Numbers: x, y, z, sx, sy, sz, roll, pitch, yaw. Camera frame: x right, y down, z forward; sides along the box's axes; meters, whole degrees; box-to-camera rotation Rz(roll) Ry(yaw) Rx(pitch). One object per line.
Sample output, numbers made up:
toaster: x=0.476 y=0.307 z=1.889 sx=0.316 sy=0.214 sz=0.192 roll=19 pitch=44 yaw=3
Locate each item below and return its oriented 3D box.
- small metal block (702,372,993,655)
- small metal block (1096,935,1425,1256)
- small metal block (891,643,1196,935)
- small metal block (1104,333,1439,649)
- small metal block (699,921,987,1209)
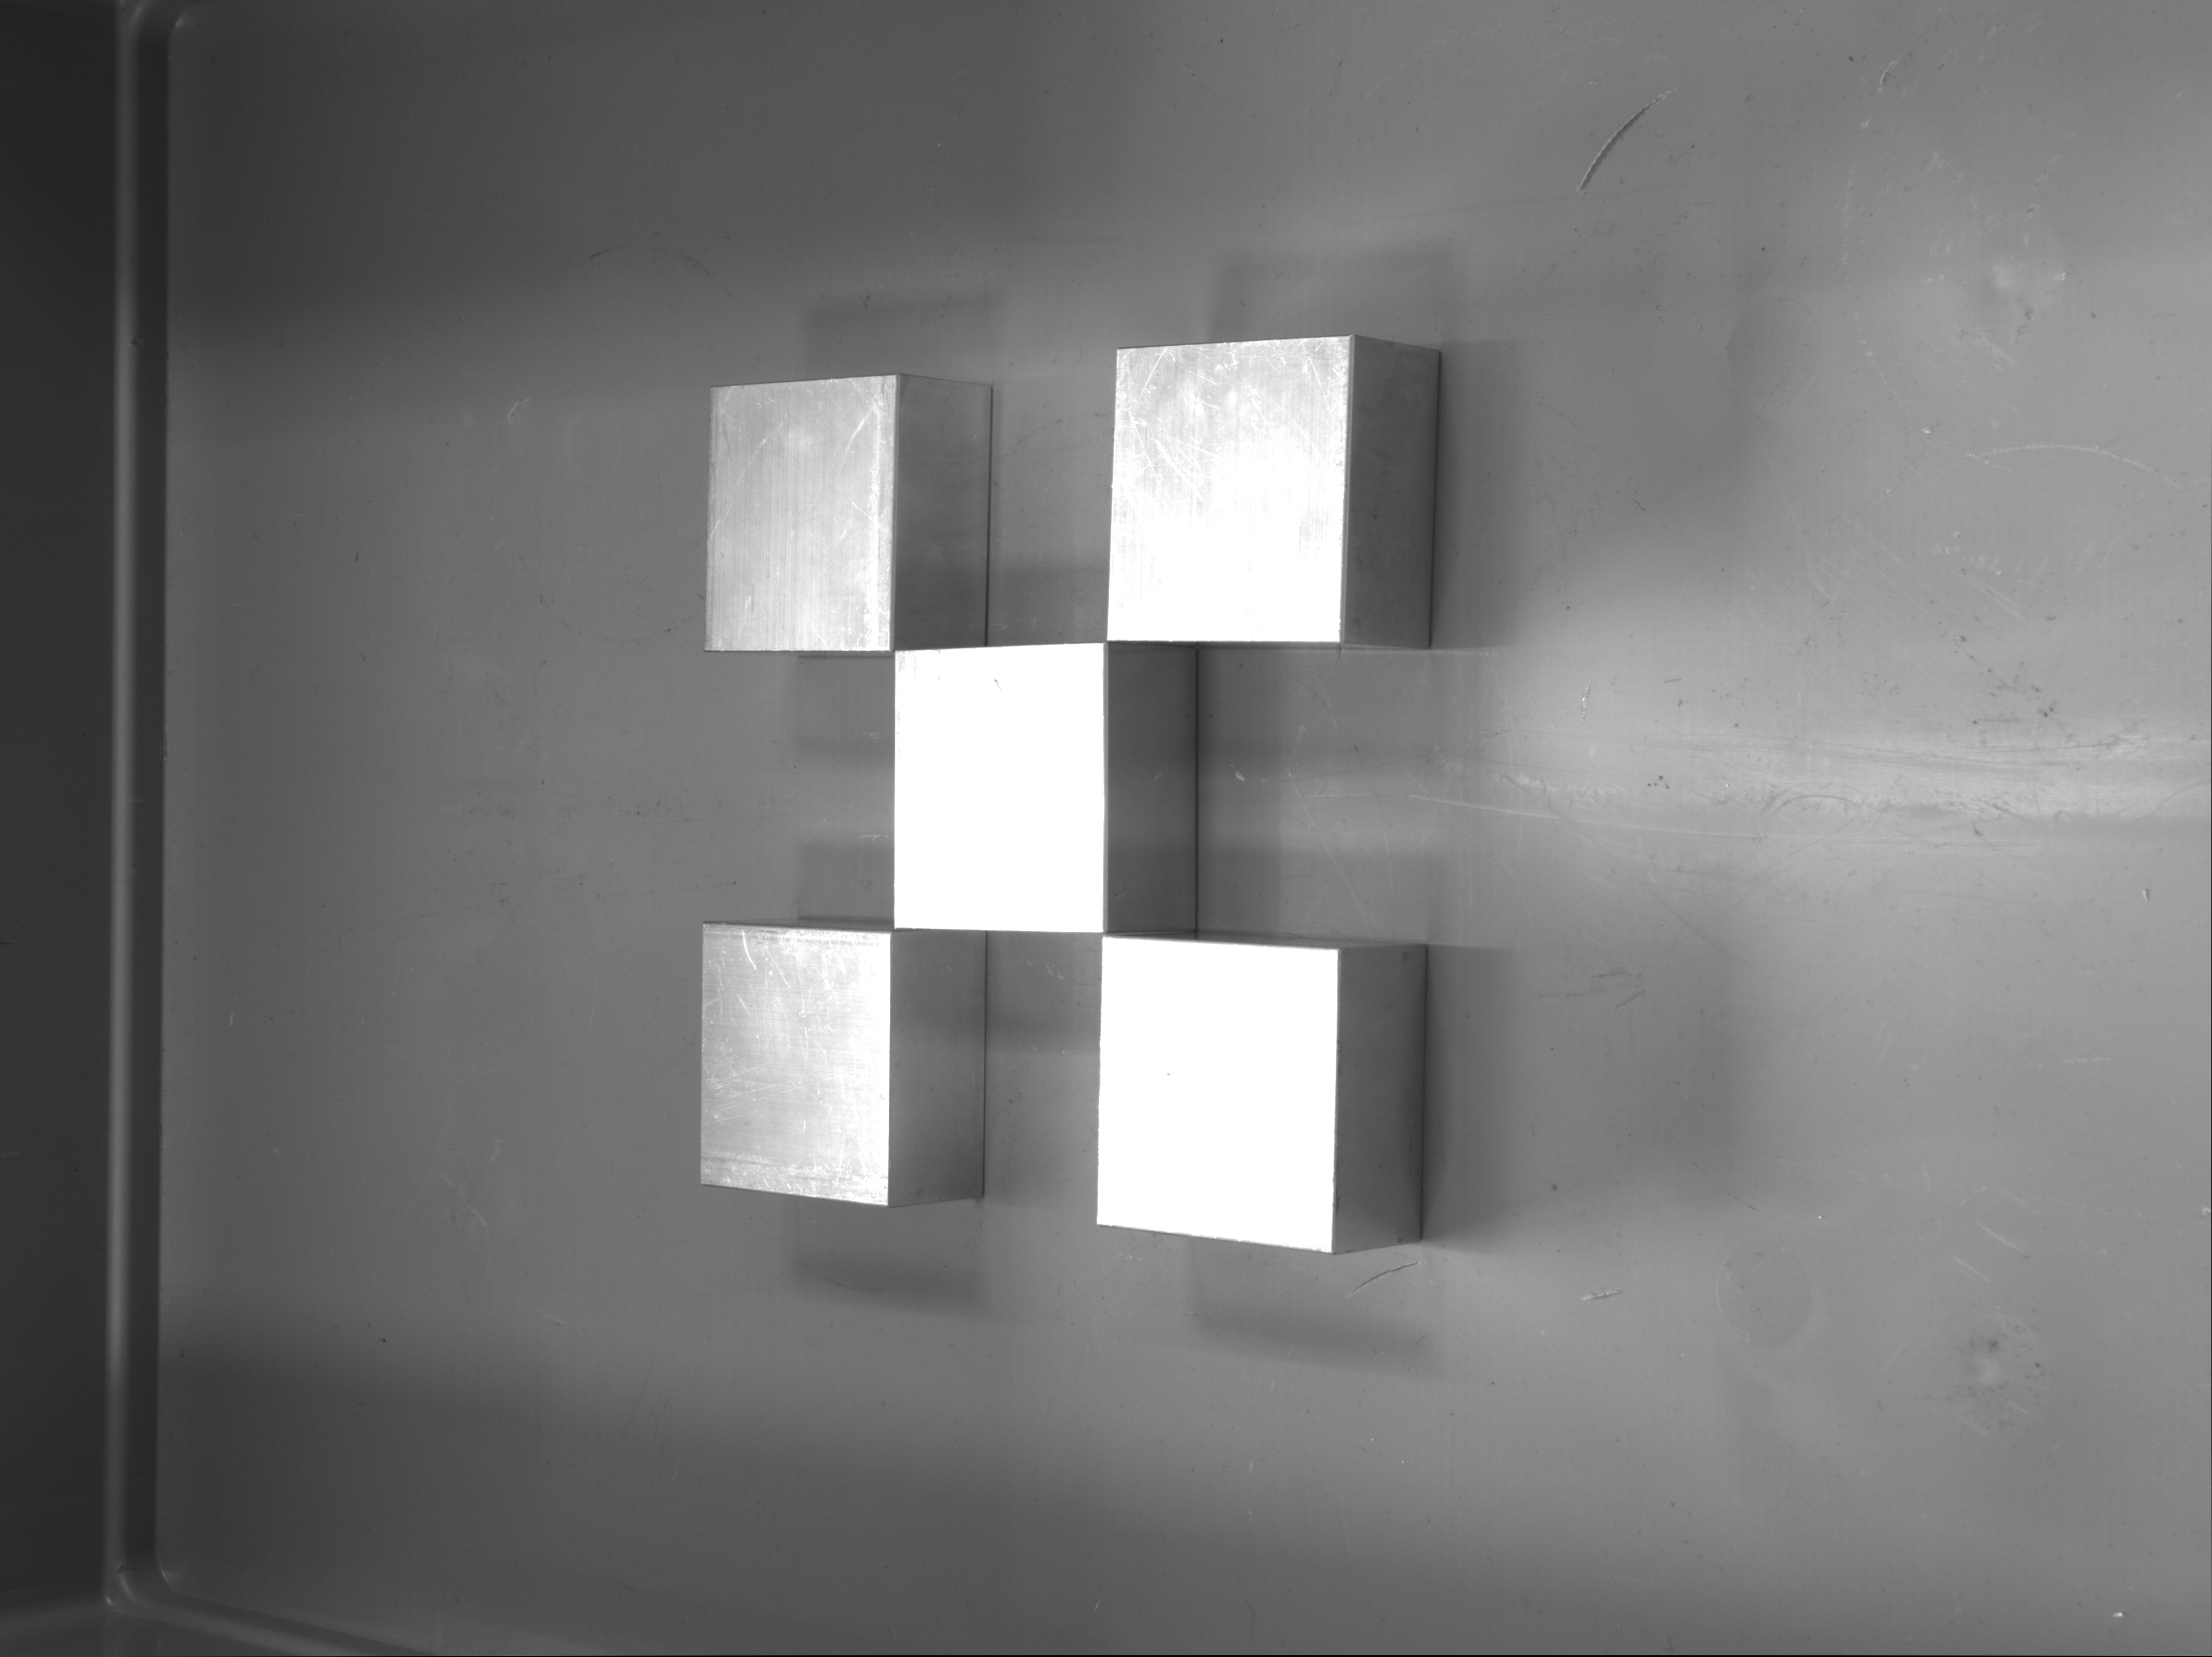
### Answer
small metal block: x=-0.048 y=-0.058 z=0.684 sx=0.050 sy=0.025 sz=0.050 roll=2 pitch=91 yaw=40
small metal block: x=0.026 y=0.044 z=0.621 sx=0.050 sy=0.025 sz=0.050 roll=2 pitch=91 yaw=40
small metal block: x=-0.011 y=-0.007 z=0.652 sx=0.050 sy=0.025 sz=0.050 roll=0 pitch=90 yaw=40
small metal block: x=0.028 y=-0.056 z=0.619 sx=0.050 sy=0.025 sz=0.050 roll=3 pitch=92 yaw=40
small metal block: x=-0.049 y=0.043 z=0.684 sx=0.050 sy=0.025 sz=0.050 roll=1 pitch=90 yaw=40
